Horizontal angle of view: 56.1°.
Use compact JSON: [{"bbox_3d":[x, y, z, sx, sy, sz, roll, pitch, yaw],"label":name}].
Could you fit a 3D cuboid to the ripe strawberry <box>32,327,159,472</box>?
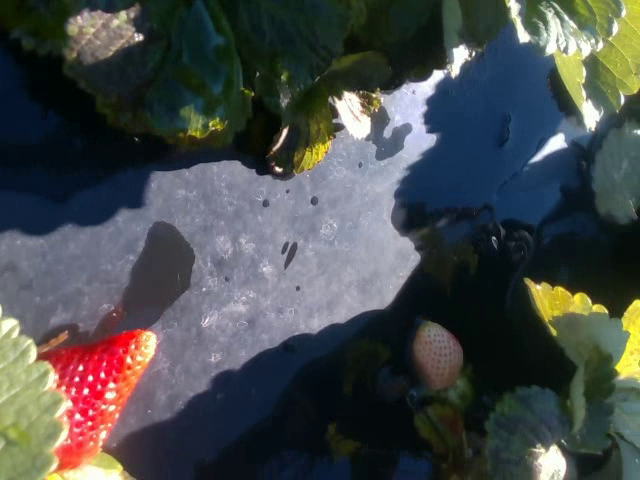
[{"bbox_3d":[-0.081,0.050,0.206,0.052,0.064,0.050,43,-10,24],"label":"ripe strawberry"}]
